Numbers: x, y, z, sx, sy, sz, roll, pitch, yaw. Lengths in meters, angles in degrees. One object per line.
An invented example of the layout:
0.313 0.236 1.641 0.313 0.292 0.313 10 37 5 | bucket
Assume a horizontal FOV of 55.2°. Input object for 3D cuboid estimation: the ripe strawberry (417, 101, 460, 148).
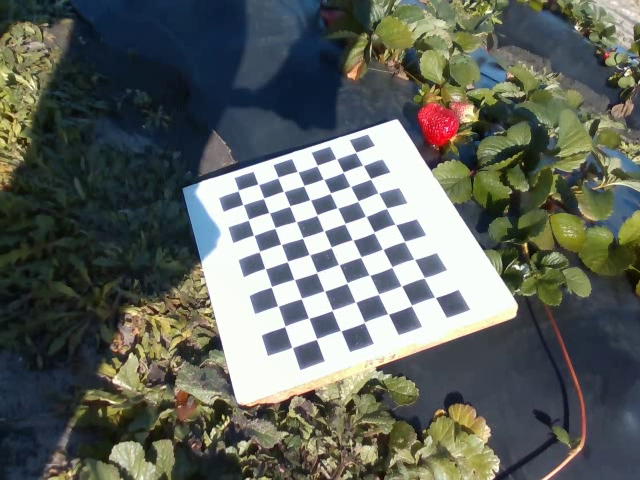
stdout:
0.138 -0.138 0.723 0.058 0.066 0.062 -4 -42 43 | ripe strawberry
